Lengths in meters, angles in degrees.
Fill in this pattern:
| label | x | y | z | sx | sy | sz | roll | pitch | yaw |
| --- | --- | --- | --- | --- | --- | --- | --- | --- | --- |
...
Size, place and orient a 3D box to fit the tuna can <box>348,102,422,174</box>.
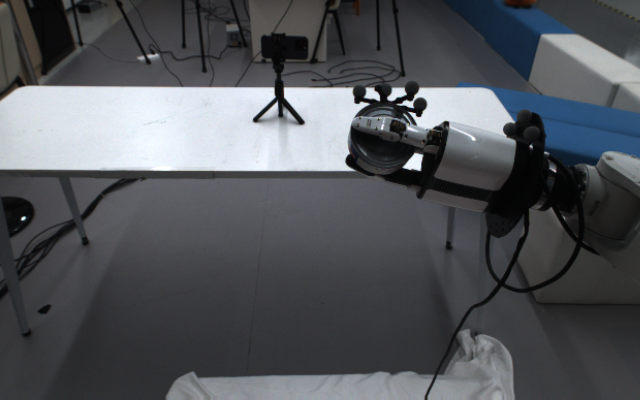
| label | x | y | z | sx | sy | sz | roll | pitch | yaw |
| --- | --- | --- | --- | --- | --- | --- | --- | --- | --- |
| tuna can | 0.079 | -0.080 | 0.605 | 0.085 | 0.034 | 0.085 | 1 | 73 | -3 |
